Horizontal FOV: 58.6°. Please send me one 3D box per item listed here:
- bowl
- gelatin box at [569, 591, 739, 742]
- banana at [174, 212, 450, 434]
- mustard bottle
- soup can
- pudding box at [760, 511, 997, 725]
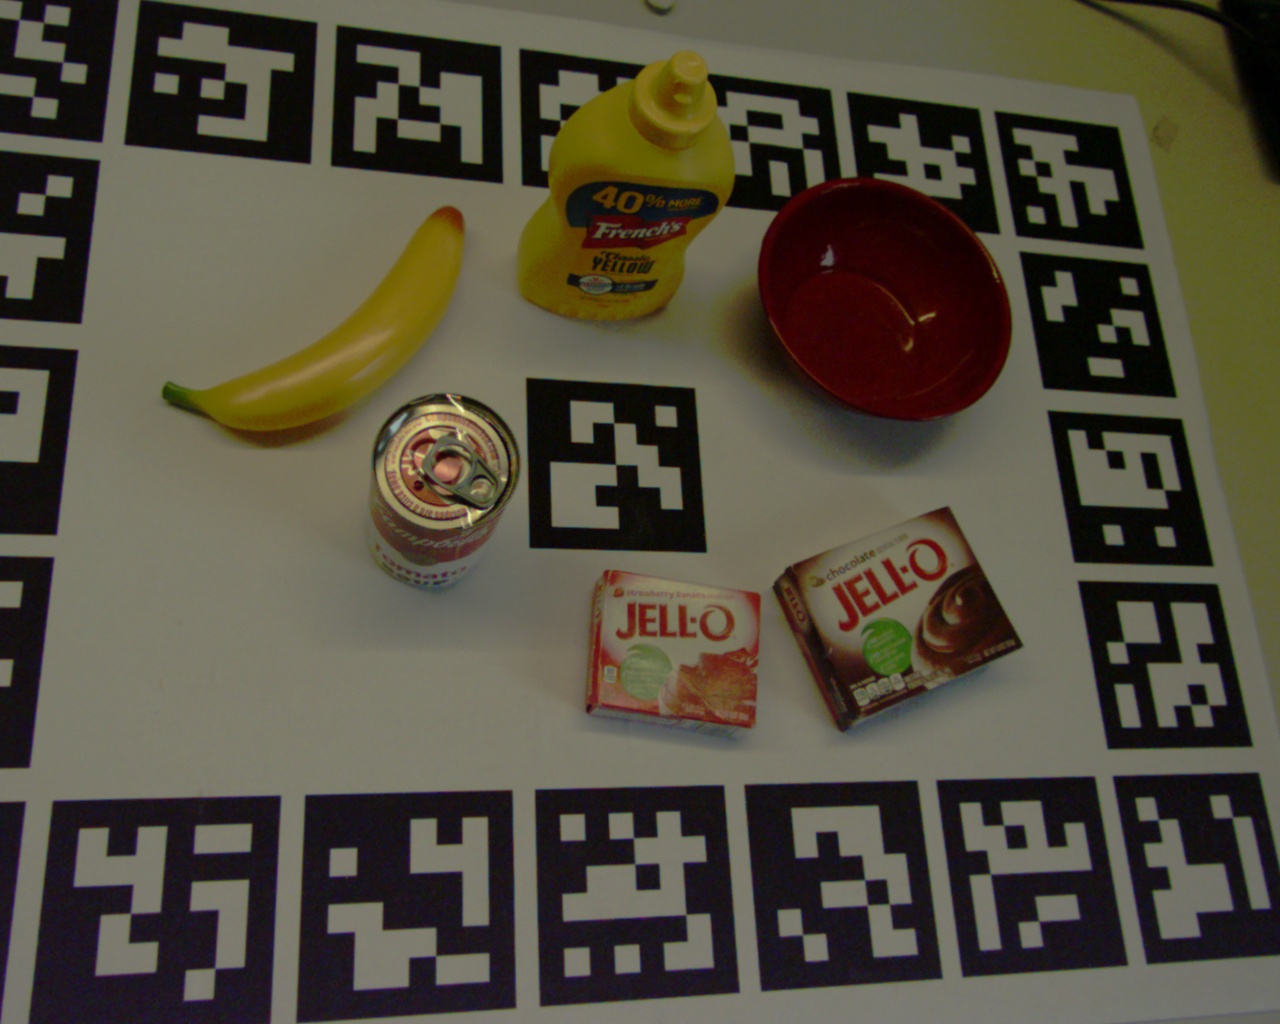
[{"bbox_3d":[0.137,-0.118,0.732,0.161,0.055,0.162,4,69,-12],"label":"bowl"},{"bbox_3d":[0.008,0.086,0.636,0.089,0.030,0.073,8,72,-11],"label":"gelatin box"},{"bbox_3d":[-0.169,-0.104,0.654,0.074,0.039,0.196,37,66,11],"label":"banana"},{"bbox_3d":[-0.007,-0.166,0.622,0.095,0.192,0.058,2,68,-15],"label":"mustard bottle"},{"bbox_3d":[-0.112,-0.009,0.590,0.067,0.102,0.068,6,68,-15],"label":"soup can"},{"bbox_3d":[0.139,0.062,0.673,0.113,0.039,0.090,-22,83,-20],"label":"pudding box"}]
